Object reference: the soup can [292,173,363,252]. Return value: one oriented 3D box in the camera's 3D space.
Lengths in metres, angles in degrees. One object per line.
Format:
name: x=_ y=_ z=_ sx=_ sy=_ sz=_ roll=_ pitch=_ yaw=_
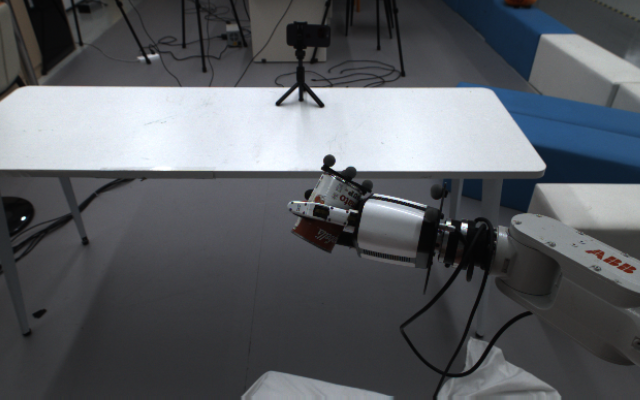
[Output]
soup can: x=0.011 y=0.018 z=0.708 sx=0.067 sy=0.101 sz=0.067 roll=28 pitch=-3 yaw=2
